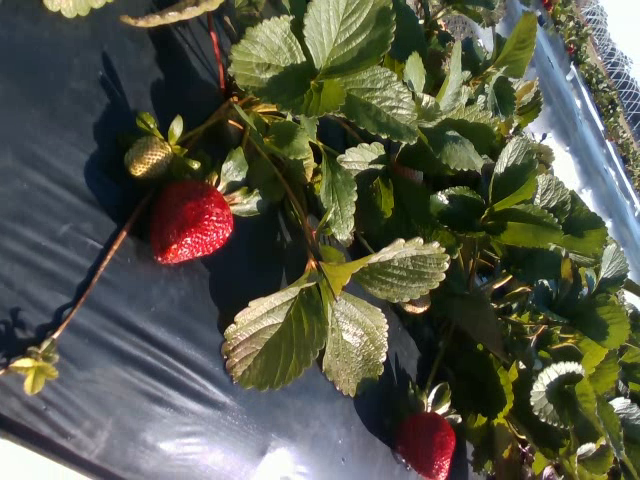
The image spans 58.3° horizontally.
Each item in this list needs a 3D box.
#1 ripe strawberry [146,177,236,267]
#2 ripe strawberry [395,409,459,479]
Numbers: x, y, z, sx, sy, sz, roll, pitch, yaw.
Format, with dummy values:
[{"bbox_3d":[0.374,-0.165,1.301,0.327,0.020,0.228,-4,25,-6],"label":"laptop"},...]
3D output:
[{"bbox_3d":[-0.059,-0.006,0.251,0.043,0.042,0.053,-22,30,16],"label":"ripe strawberry"},{"bbox_3d":[0.064,0.131,0.346,0.043,0.043,0.050,-8,16,7],"label":"ripe strawberry"}]
